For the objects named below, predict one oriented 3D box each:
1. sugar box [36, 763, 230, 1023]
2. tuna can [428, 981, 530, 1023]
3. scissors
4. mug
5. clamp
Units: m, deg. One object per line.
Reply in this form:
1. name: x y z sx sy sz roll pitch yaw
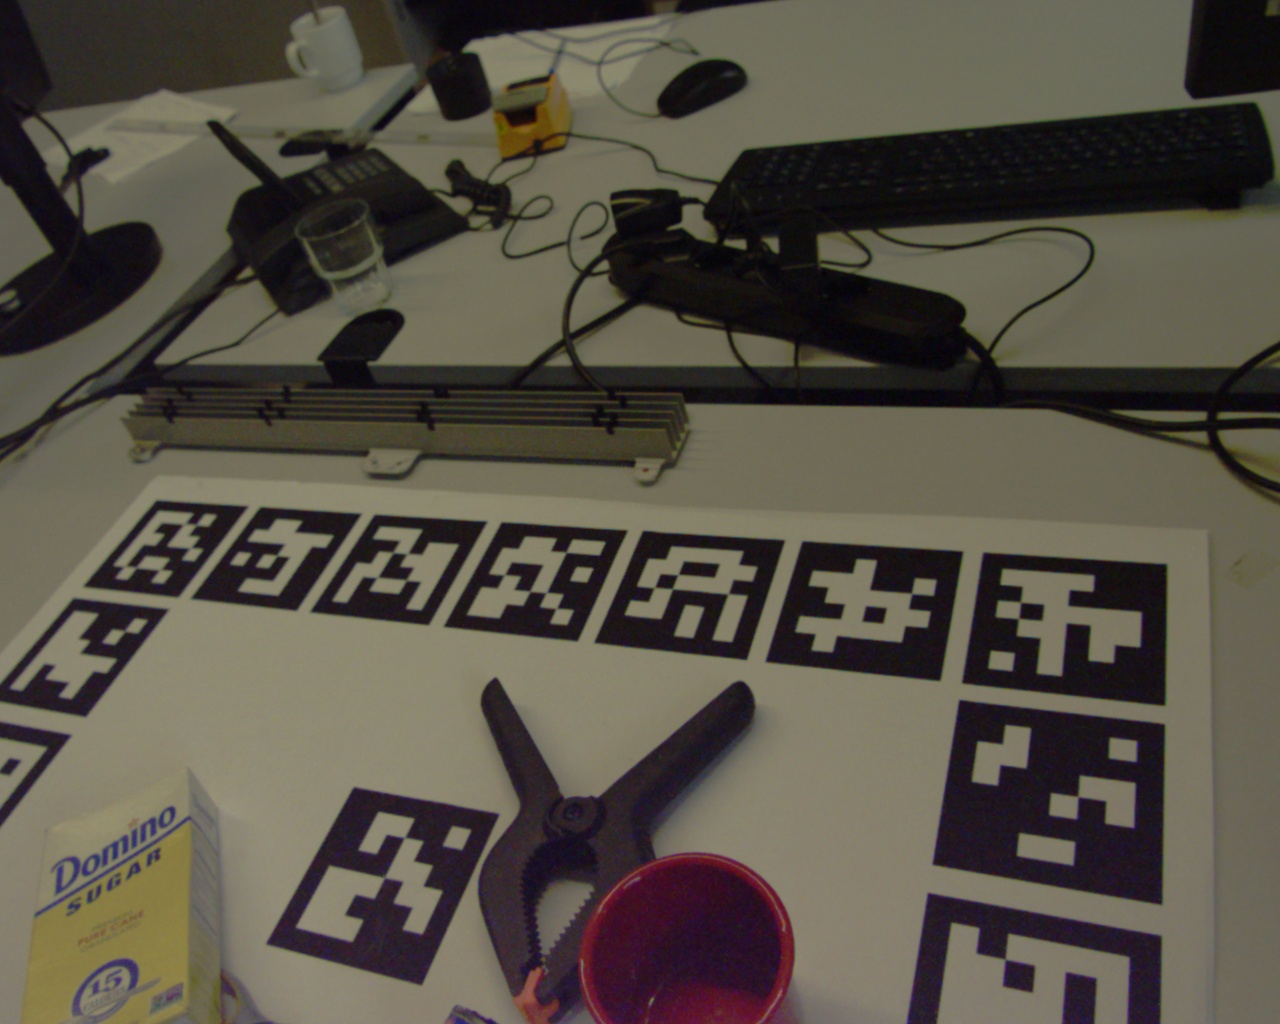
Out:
1. sugar box: -0.284 0.232 0.650 0.093 0.045 0.178 -23 36 -5
2. tuna can: -0.061 0.256 0.520 0.087 0.085 0.033 18 53 34
3. scissors: -0.188 0.265 0.604 0.204 0.016 0.088 -4 40 14
4. mug: 0.012 0.225 0.533 0.093 0.081 0.118 -16 38 3
5. clamp: -0.038 0.177 0.647 0.166 0.036 0.203 -5 45 15
